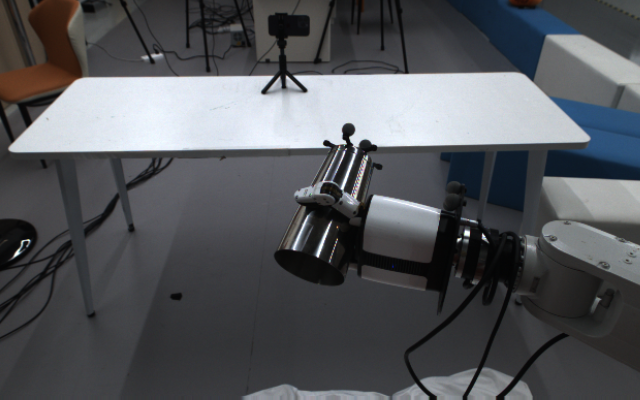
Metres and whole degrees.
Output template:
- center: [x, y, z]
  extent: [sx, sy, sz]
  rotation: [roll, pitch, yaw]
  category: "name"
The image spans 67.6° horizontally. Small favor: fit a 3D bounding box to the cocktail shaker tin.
- center: [0.013, 0.014, 0.625]
  extent: [0.093, 0.093, 0.170]
  rotation: [15, 61, 17]
  category: "cocktail shaker tin"
